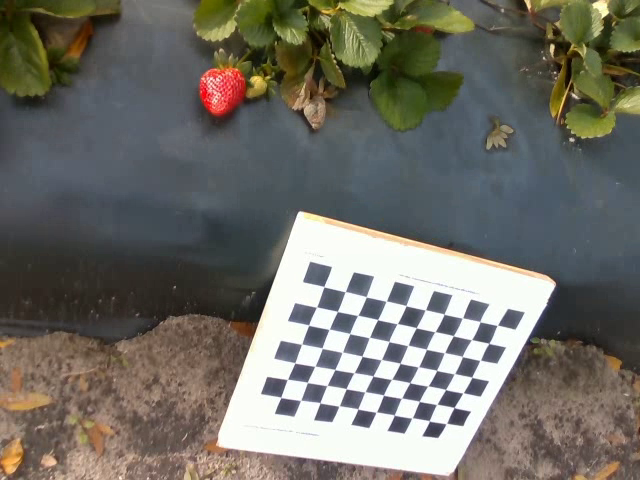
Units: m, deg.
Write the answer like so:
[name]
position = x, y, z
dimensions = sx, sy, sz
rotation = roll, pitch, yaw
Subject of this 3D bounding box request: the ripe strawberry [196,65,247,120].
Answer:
[ripe strawberry]
position = -0.089, -0.131, 0.493
dimensions = 0.045, 0.058, 0.050
rotation = 17, -30, -18
